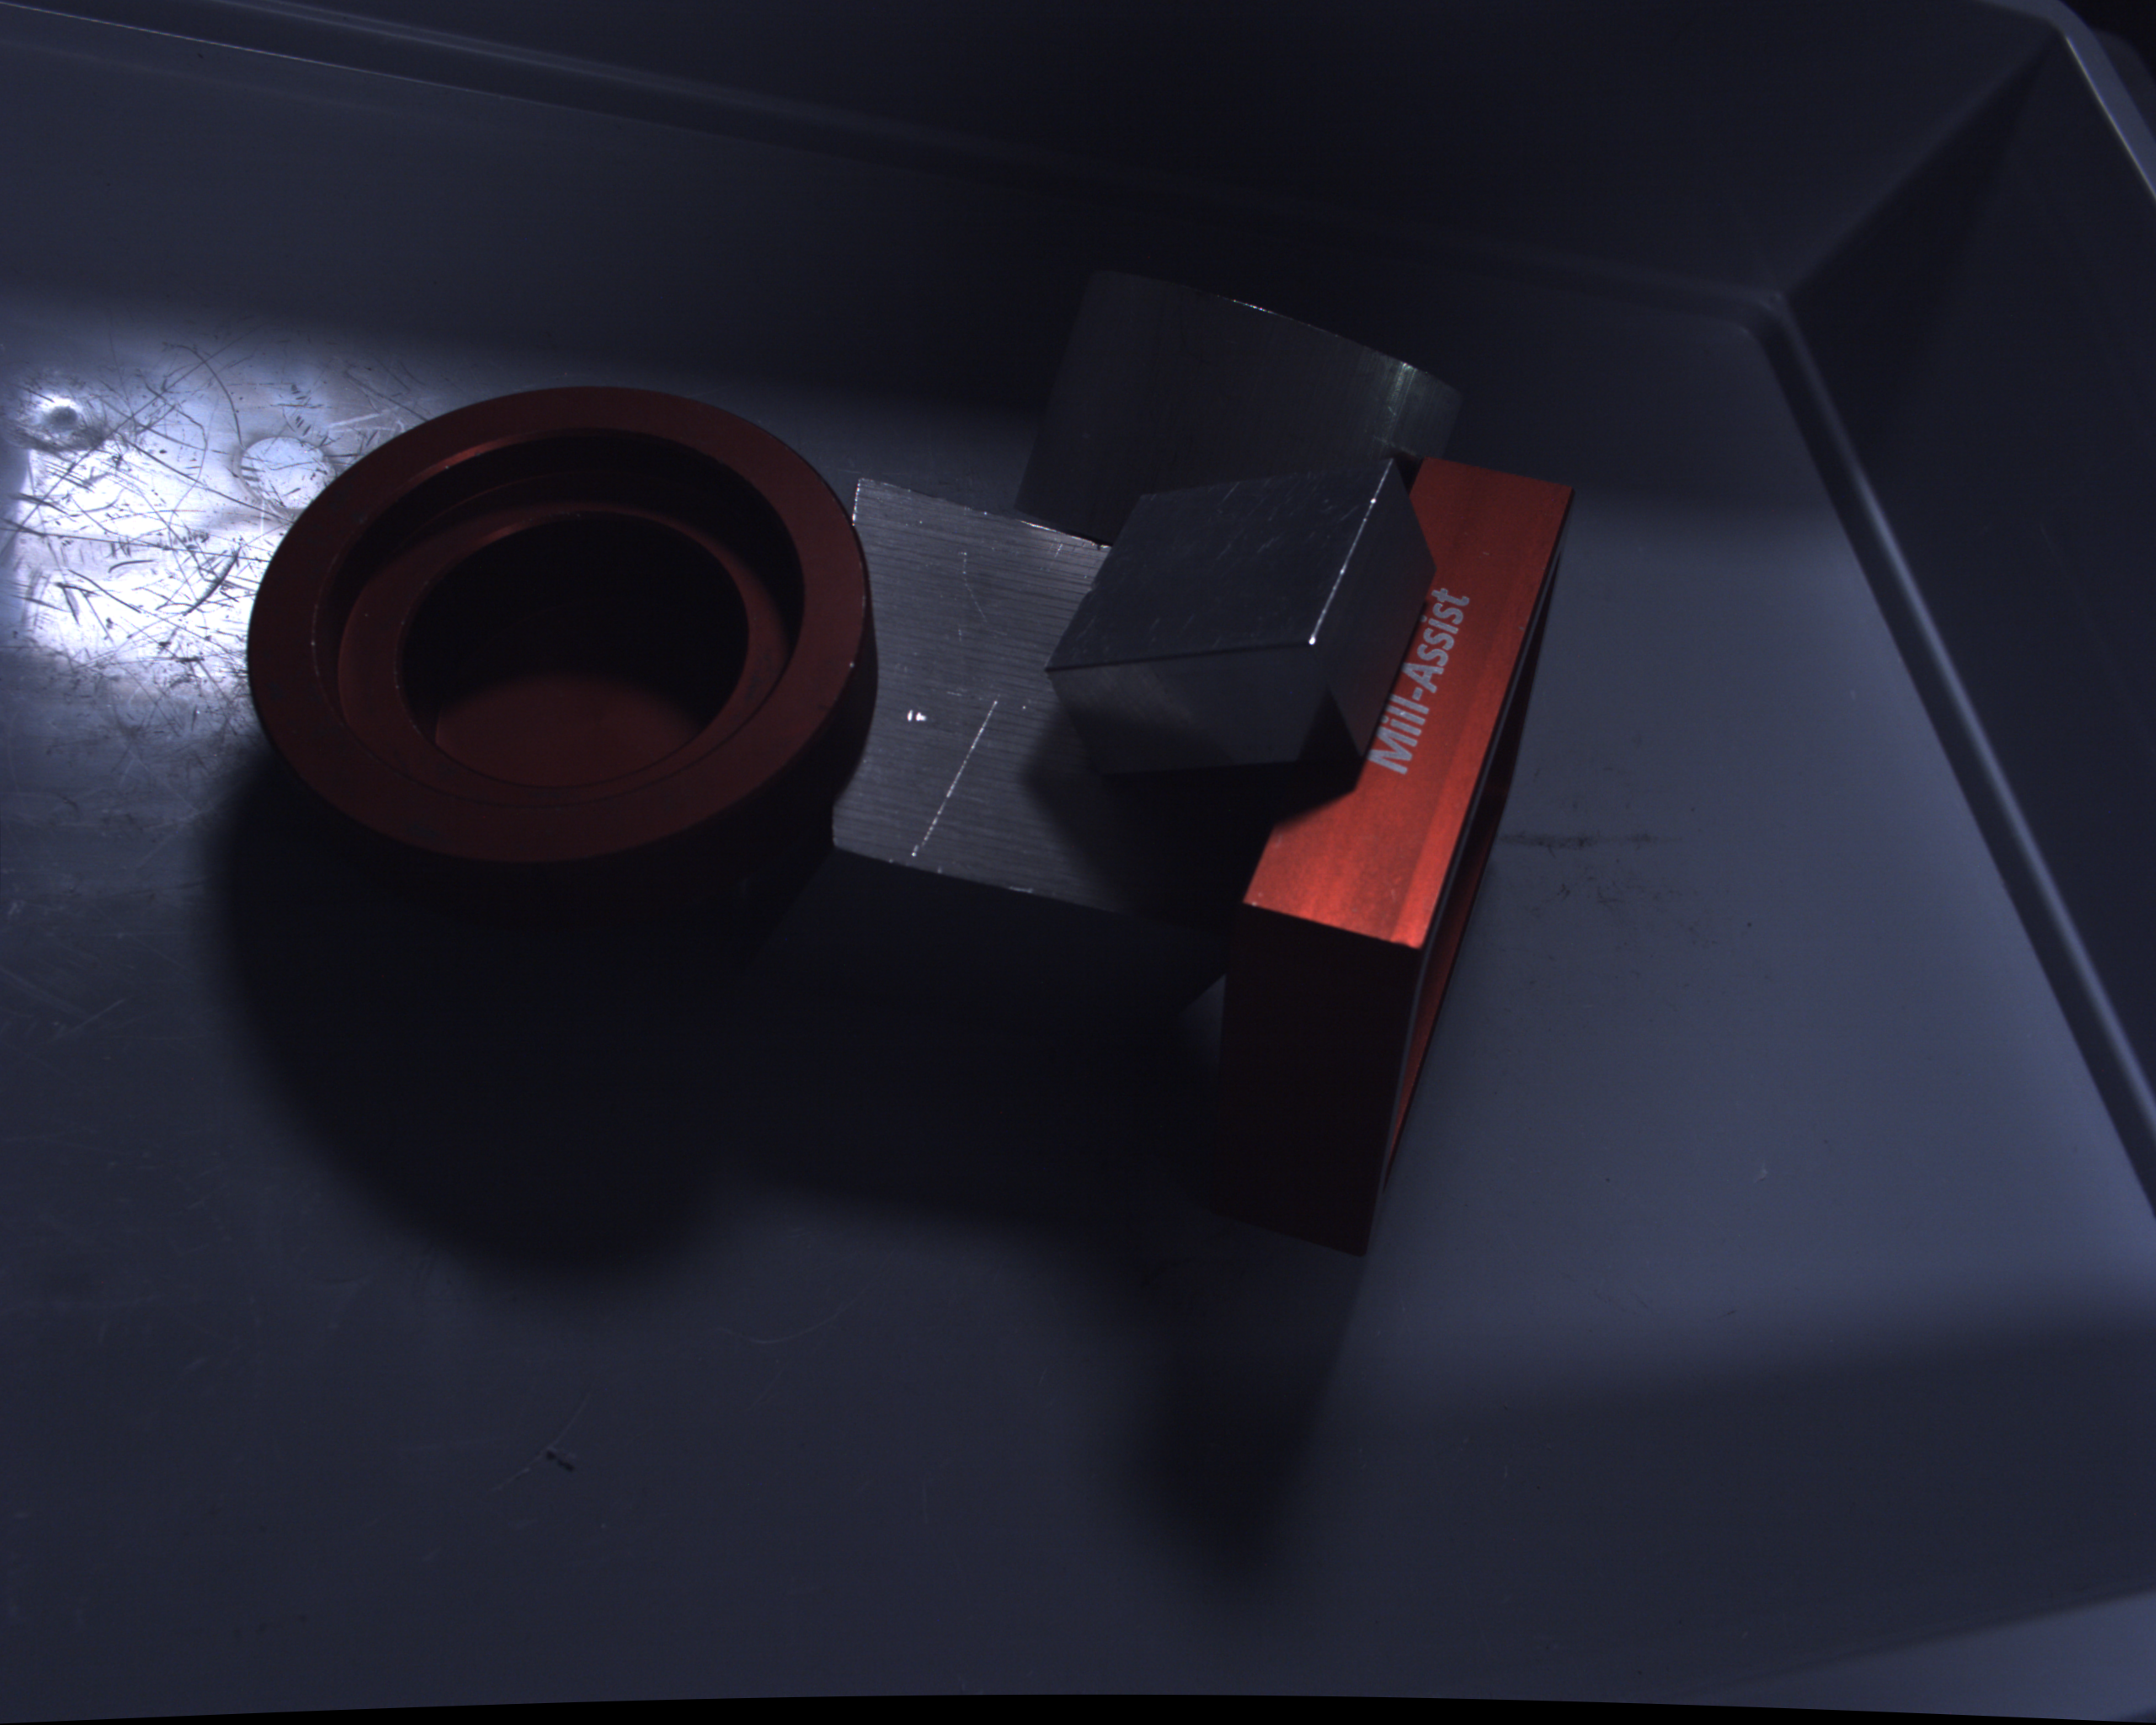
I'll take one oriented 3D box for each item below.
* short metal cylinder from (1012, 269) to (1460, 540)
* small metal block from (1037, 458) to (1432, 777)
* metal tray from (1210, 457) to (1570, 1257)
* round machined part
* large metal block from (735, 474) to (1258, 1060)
[{"bbox_3d":[0.032,-0.085,0.431,0.081,0.080,0.050,15,100,-20],"label":"short metal cylinder"},{"bbox_3d":[0.028,-0.042,0.364,0.025,0.050,0.050,61,41,-36],"label":"small metal block"},{"bbox_3d":[0.060,-0.003,0.396,0.030,0.089,0.130,15,50,13],"label":"metal tray"},{"bbox_3d":[-0.083,-0.030,0.352,0.099,0.042,0.098,1,59,-2],"label":"round machined part"},{"bbox_3d":[-0.014,-0.016,0.391,0.081,0.050,0.080,14,56,-21],"label":"large metal block"}]
